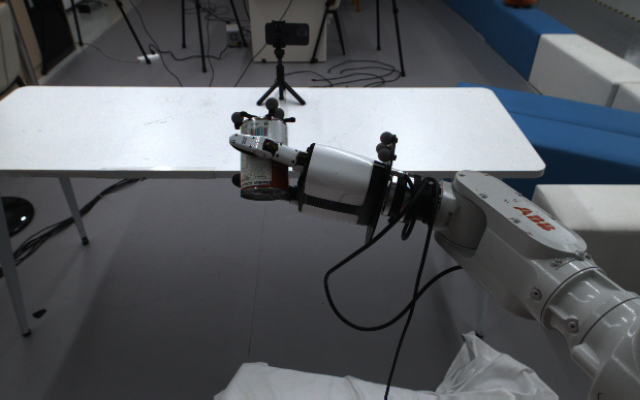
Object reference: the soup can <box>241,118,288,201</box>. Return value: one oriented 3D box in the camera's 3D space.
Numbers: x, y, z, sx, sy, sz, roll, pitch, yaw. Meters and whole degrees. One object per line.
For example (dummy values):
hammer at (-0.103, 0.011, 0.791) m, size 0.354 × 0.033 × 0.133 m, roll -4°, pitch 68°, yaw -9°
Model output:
soup can at (-0.075, -0.056, 0.669) m, size 0.067 × 0.067 × 0.101 m, roll -2°, pitch 77°, yaw -6°
